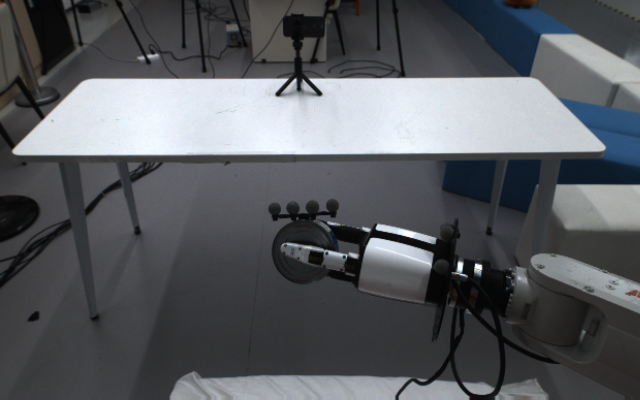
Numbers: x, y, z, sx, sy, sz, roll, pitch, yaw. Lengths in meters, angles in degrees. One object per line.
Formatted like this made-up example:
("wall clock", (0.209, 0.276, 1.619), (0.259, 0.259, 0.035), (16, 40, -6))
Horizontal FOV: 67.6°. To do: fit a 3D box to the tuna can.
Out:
("tuna can", (-0.016, 0.072, 0.645), (0.085, 0.085, 0.034), (10, 3, 11))
